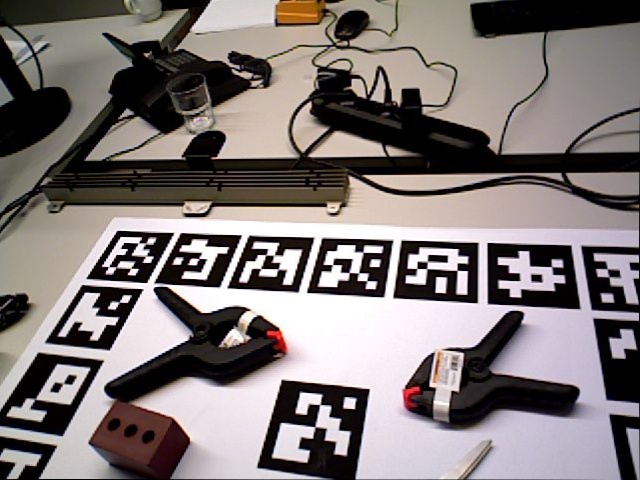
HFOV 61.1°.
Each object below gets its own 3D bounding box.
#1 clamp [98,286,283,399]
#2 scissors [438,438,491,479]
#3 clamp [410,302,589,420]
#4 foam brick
[{"bbox_3d":[-0.144,0.120,0.651,0.203,0.037,0.162,-1,43,12],"label":"clamp"},{"bbox_3d":[0.083,0.242,0.486,0.199,0.016,0.087,-35,56,-21],"label":"scissors"},{"bbox_3d":[0.170,0.137,0.561,0.164,0.037,0.120,-19,52,-4],"label":"clamp"},{"bbox_3d":[-0.187,0.213,0.563,0.078,0.052,0.051,5,49,24],"label":"foam brick"}]
